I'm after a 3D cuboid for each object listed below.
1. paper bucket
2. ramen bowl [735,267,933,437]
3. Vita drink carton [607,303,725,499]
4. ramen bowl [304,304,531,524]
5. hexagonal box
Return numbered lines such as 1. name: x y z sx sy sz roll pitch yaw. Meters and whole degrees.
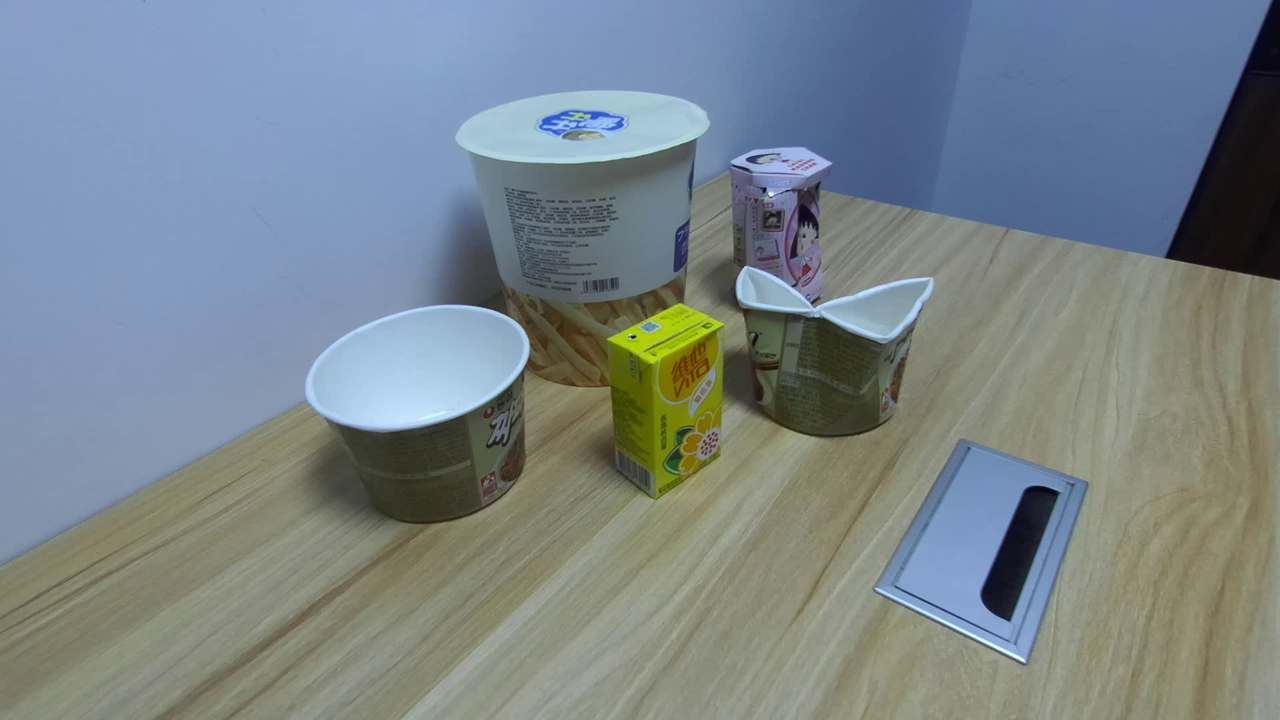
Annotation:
1. paper bucket: -0.037 -0.098 0.579 0.198 0.195 0.198 -2 34 2
2. ramen bowl: 0.135 -0.015 0.529 0.128 0.093 0.112 17 39 27
3. Vita drink carton: 0.019 0.026 0.465 0.067 0.109 0.043 -28 41 -33
4. ramen bowl: -0.140 0.039 0.482 0.140 0.095 0.140 -1 34 1
5. hexagonal box: 0.124 -0.118 0.652 0.091 0.135 0.090 -8 31 -7
